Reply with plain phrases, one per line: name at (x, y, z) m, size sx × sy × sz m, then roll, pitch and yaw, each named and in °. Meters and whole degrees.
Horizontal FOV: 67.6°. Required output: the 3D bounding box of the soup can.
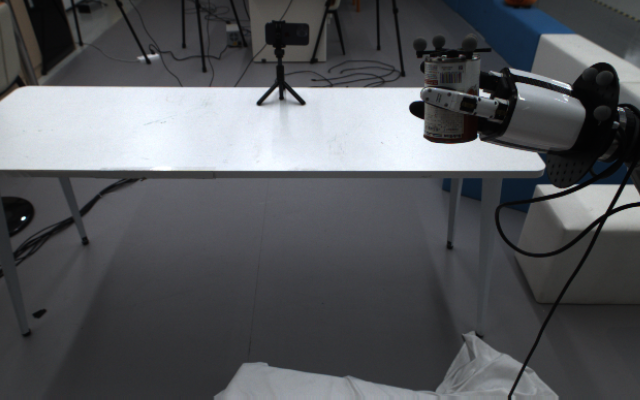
soup can at (0.167, -0.129, 0.610) m, size 0.067 × 0.101 × 0.067 m, roll -4°, pitch 21°, yaw 1°
